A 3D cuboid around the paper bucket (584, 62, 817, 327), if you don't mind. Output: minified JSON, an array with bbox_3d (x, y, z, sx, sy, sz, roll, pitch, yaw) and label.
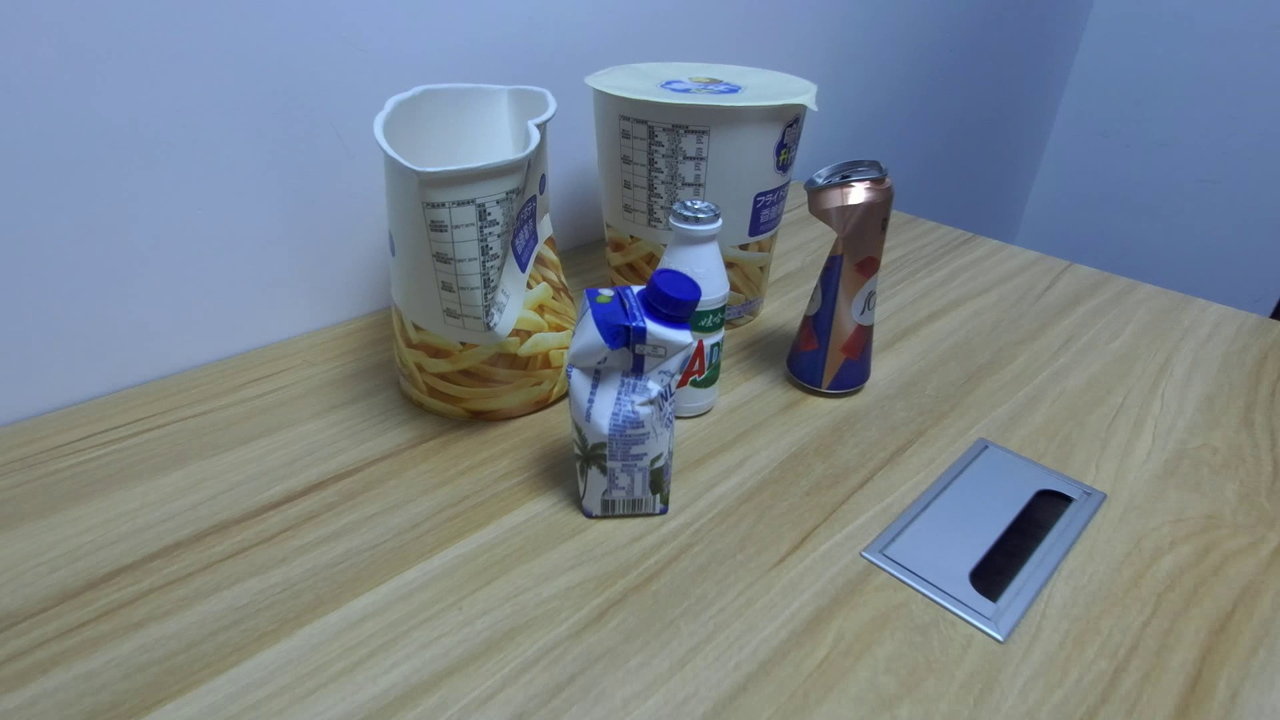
[{"bbox_3d":[0.047,-0.142,0.617,0.198,0.195,0.198,1,31,0],"label":"paper bucket"}]

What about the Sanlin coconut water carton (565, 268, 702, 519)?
[{"bbox_3d":[-0.006,0.019,0.395,0.070,0.144,0.060,0,32,-7],"label":"Sanlin coconut water carton"}]

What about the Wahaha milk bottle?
[{"bbox_3d":[0.033,-0.032,0.480,0.053,0.147,0.053,2,31,-1],"label":"Wahaha milk bottle"}]

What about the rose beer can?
[{"bbox_3d":[0.147,-0.057,0.514,0.070,0.168,0.069,-16,32,-23],"label":"rose beer can"}]

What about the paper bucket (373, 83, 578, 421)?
[{"bbox_3d":[-0.108,-0.078,0.500,0.148,0.199,0.217,-15,35,-26],"label":"paper bucket"}]
